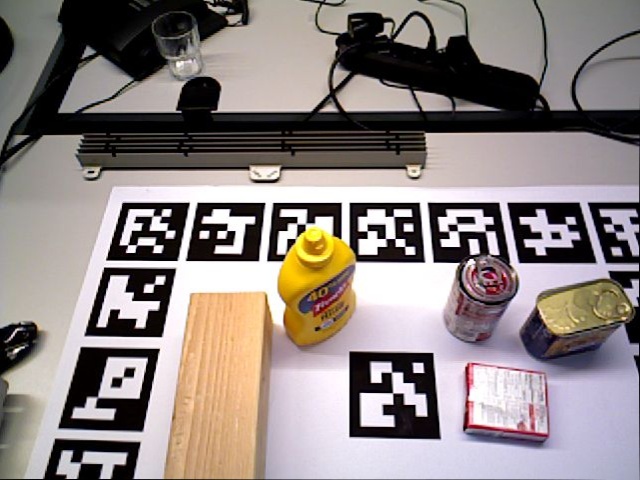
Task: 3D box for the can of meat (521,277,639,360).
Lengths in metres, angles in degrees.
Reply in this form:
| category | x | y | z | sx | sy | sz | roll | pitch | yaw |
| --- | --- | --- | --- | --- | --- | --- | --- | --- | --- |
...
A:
| category | x | y | z | sx | sy | sz | roll | pitch | yaw |
| --- | --- | --- | --- | --- | --- | --- | --- | --- | --- |
| can of meat | 0.290 | 0.092 | 0.616 | 0.101 | 0.085 | 0.057 | -10 | 58 | -7 |

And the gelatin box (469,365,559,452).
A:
| category | x | y | z | sx | sy | sz | roll | pitch | yaw |
| --- | --- | --- | --- | --- | --- | --- | --- | --- | --- |
| gelatin box | 0.211 | 0.182 | 0.591 | 0.089 | 0.030 | 0.072 | 8 | 60 | 11 |

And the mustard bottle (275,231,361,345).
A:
| category | x | y | z | sx | sy | sz | roll | pitch | yaw |
| --- | --- | --- | --- | --- | --- | --- | --- | --- | --- |
| mustard bottle | -0.001 | 0.048 | 0.601 | 0.095 | 0.195 | 0.058 | -20 | 58 | -13 |

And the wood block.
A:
| category | x | y | z | sx | sy | sz | roll | pitch | yaw |
| --- | --- | --- | --- | --- | --- | --- | --- | --- | --- |
| wood block | -0.101 | 0.160 | 0.591 | 0.091 | 0.092 | 0.203 | 2 | 54 | 2 |

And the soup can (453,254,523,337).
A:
| category | x | y | z | sx | sy | sz | roll | pitch | yaw |
| --- | --- | --- | --- | --- | --- | --- | --- | --- | --- |
| soup can | 0.193 | 0.062 | 0.619 | 0.068 | 0.104 | 0.067 | -2 | 58 | 2 |
